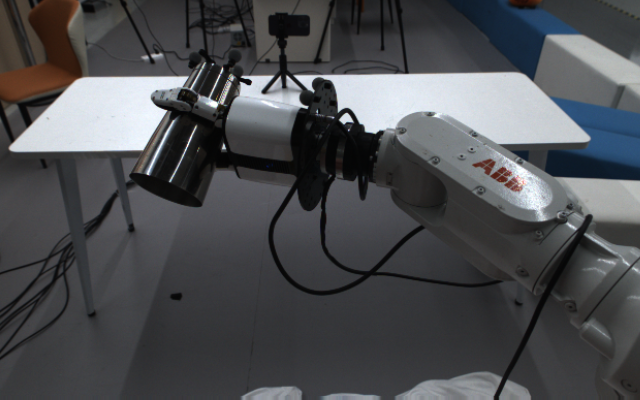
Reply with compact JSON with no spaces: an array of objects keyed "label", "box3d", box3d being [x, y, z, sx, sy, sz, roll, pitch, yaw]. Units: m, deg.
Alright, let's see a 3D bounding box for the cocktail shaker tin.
[{"label":"cocktail shaker tin","box3d":[-0.162,-0.087,0.616,0.093,0.093,0.170,13,70,15]}]
